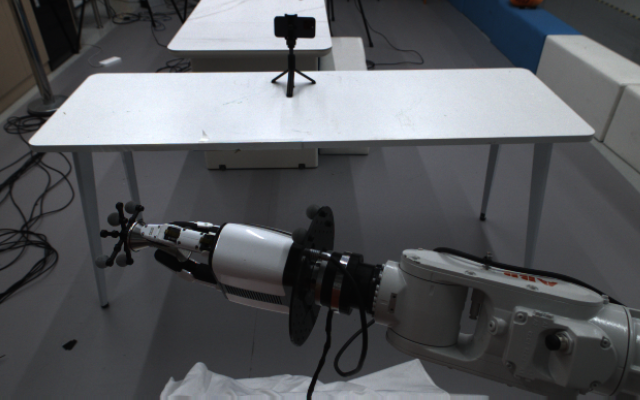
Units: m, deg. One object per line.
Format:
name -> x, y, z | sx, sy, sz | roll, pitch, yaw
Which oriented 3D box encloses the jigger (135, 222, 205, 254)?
jigger -> -0.189, 0.047, 0.595 | 0.071, 0.043, 0.043 | 7, 35, 13
